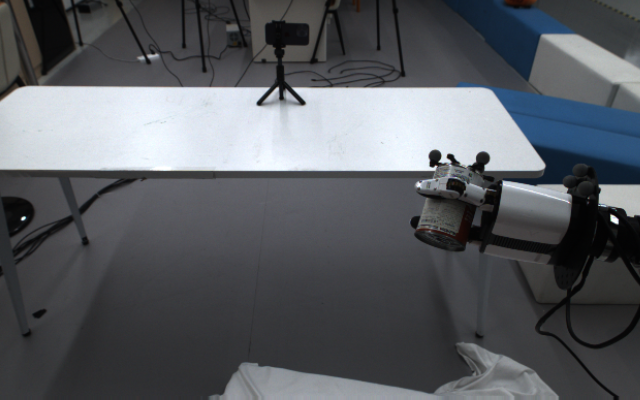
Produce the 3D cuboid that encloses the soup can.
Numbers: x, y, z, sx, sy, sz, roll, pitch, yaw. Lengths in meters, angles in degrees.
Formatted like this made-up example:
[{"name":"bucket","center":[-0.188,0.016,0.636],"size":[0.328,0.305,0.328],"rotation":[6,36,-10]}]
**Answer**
[{"name":"soup can","center":[0.175,0.009,0.648],"size":[0.067,0.067,0.101],"rotation":[15,75,18]}]
